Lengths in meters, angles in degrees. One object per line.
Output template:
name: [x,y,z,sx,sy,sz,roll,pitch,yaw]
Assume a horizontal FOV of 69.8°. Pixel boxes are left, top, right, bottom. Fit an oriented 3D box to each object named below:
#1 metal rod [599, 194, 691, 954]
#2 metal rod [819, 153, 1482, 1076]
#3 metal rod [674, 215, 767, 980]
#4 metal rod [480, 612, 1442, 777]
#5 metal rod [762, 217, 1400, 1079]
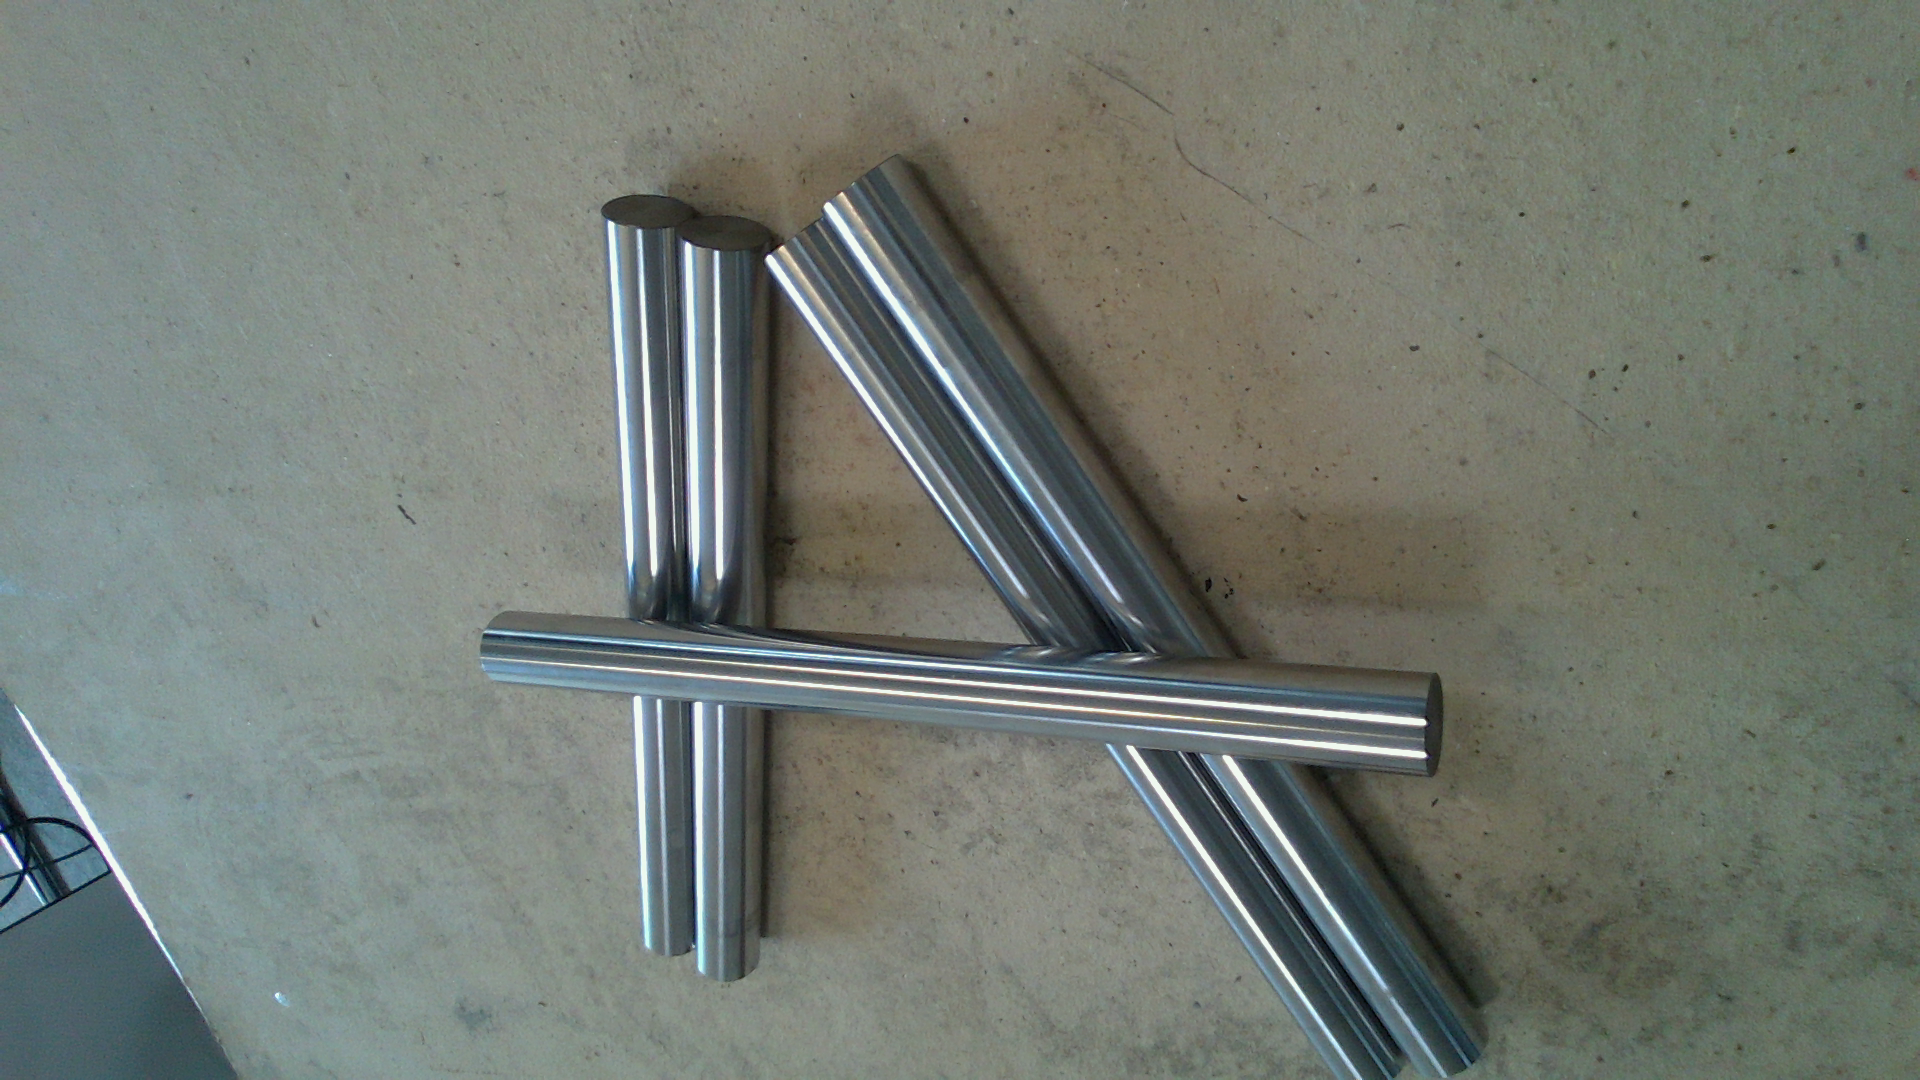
metal rod: [-0.101,0.032,0.467,0.025,0.025,0.300,19,126,18]
metal rod: [0.059,0.029,0.380,0.025,0.025,0.300,-26,104,37]
metal rod: [-0.078,0.040,0.459,0.025,0.025,0.300,18,126,18]
metal rod: [-0.020,0.040,0.396,0.299,0.025,0.025,2,119,27]
metal rod: [0.042,0.038,0.395,0.025,0.025,0.300,-26,104,37]
